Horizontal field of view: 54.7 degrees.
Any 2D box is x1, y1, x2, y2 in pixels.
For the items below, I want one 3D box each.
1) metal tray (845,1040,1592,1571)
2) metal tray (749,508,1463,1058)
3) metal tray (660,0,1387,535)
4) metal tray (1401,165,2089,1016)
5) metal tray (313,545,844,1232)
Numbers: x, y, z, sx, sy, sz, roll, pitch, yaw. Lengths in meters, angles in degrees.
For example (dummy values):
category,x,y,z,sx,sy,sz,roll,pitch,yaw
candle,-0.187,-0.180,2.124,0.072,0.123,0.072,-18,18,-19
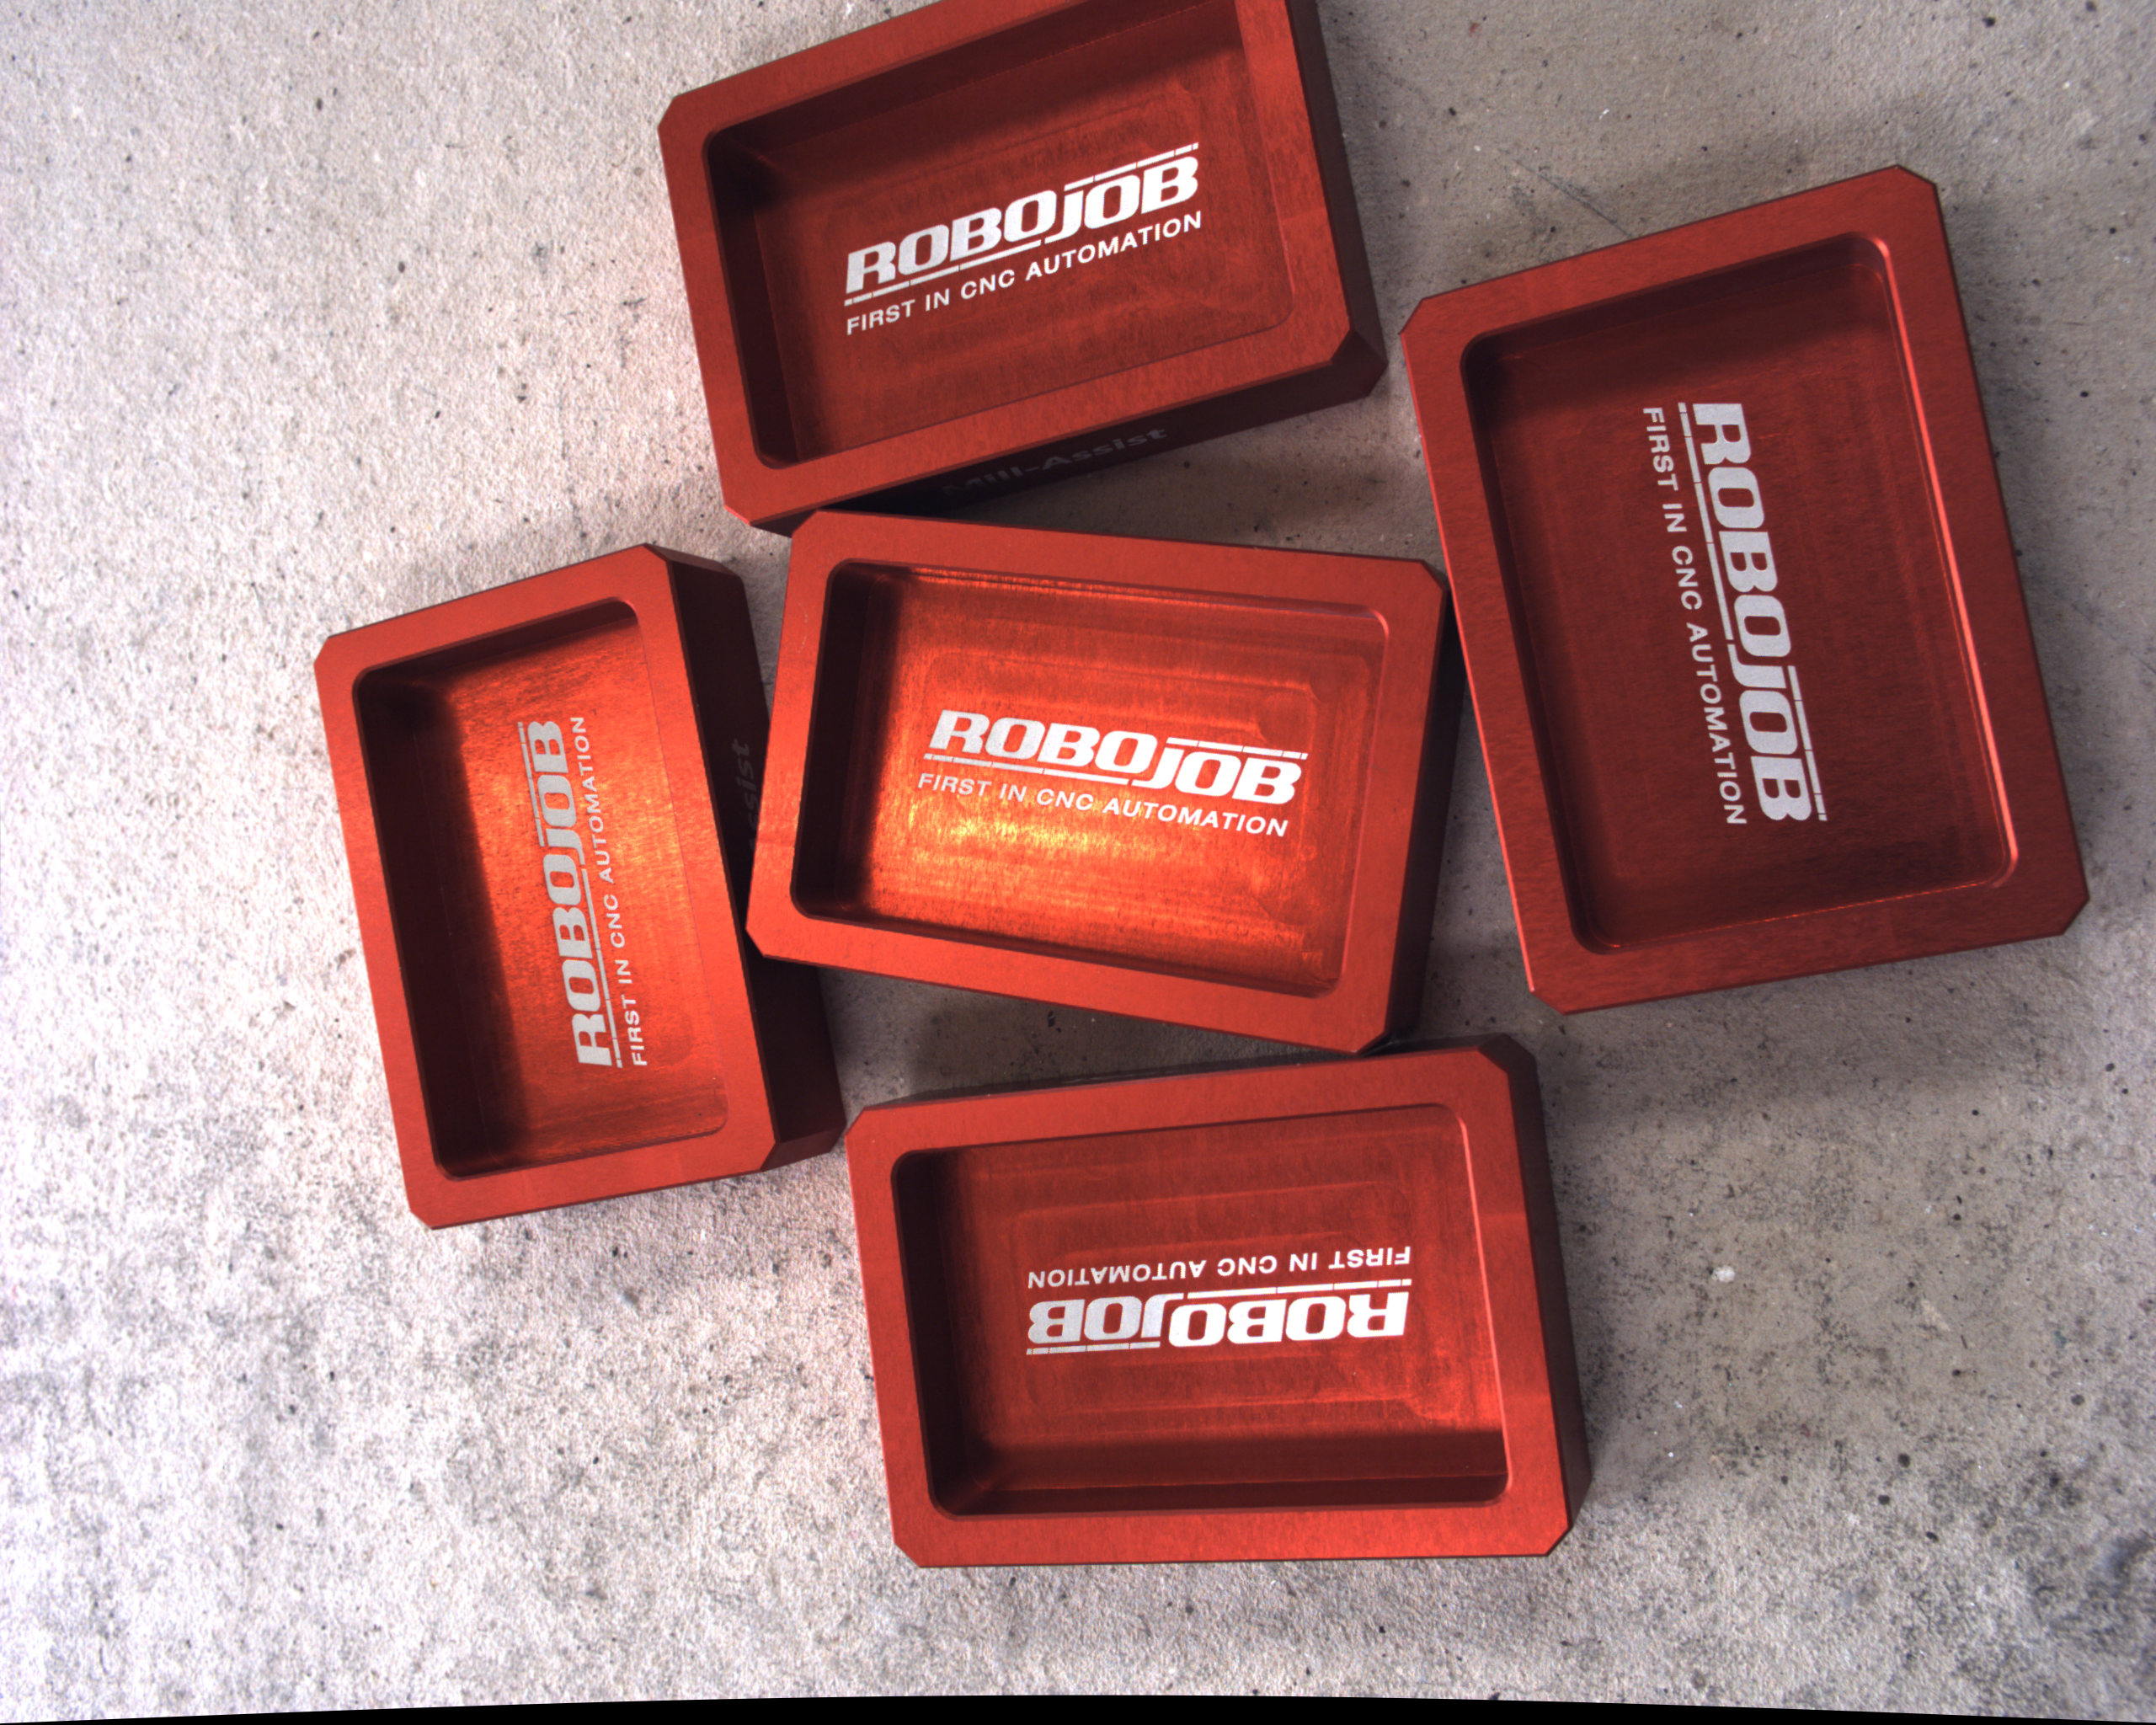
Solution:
category,x,y,z,sx,sy,sz,roll,pitch,yaw
metal tray,0.025,0.085,0.398,0.130,0.030,0.089,-8,87,20
metal tray,0.004,-0.018,0.406,0.130,0.030,0.089,8,95,20
metal tray,-0.013,-0.122,0.412,0.130,0.030,0.089,-12,86,20
metal tray,0.115,-0.044,0.367,0.090,0.030,0.129,-12,87,20
metal tray,-0.107,0.007,0.445,0.090,0.030,0.129,-13,86,20
